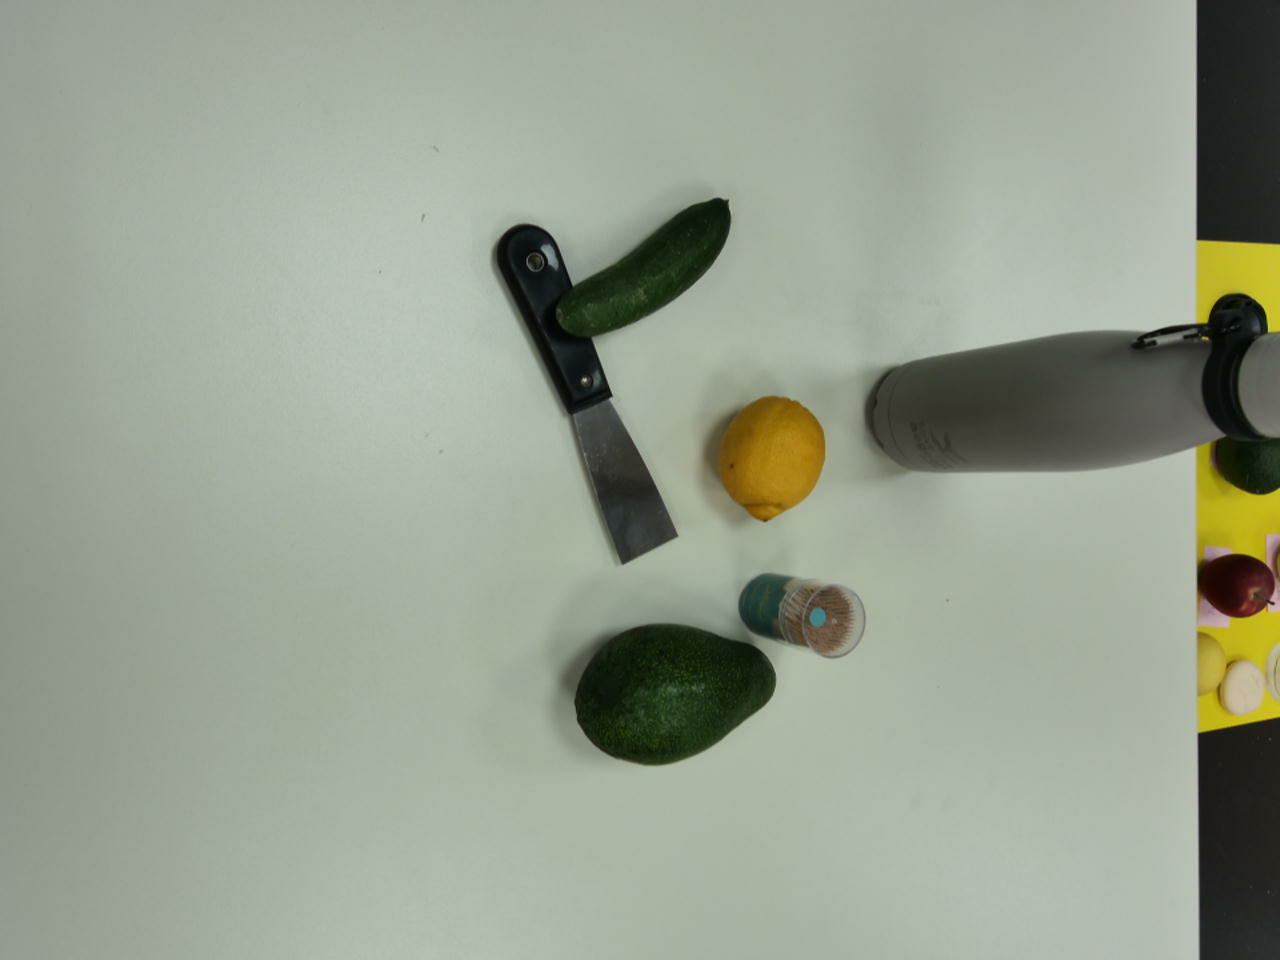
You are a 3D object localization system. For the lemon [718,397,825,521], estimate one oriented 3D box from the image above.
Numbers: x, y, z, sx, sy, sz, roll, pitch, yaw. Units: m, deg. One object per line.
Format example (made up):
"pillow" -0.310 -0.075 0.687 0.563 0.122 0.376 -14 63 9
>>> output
"lemon" 0.075 -0.014 0.575 0.061 0.059 0.067 43 75 -16
